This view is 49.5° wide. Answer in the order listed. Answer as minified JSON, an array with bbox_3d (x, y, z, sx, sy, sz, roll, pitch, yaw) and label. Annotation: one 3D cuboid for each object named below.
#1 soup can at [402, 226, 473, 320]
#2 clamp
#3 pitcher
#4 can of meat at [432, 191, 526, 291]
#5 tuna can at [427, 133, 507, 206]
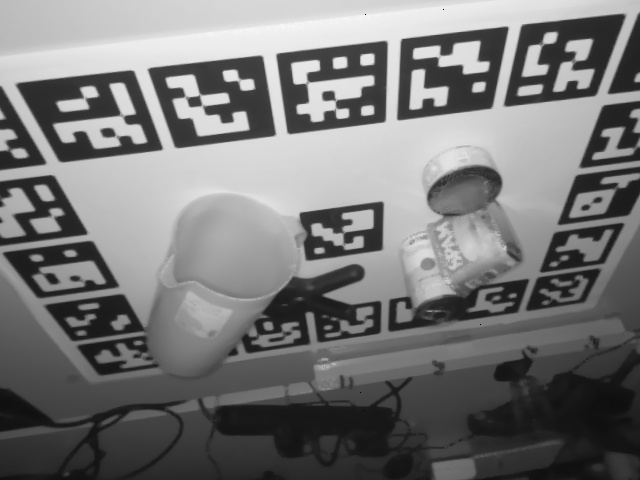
[{"bbox_3d":[0.148,0.041,0.883,0.068,0.102,0.067,-7,139,-6],"label":"soup can"},{"bbox_3d":[-0.011,0.064,0.943,0.165,0.037,0.121,-3,144,-3],"label":"clamp"},{"bbox_3d":[-0.120,0.054,0.812,0.192,0.133,0.238,-12,154,-33],"label":"pitcher"},{"bbox_3d":[0.192,-0.004,0.831,0.083,0.102,0.058,-33,134,21],"label":"can of meat"},{"bbox_3d":[0.166,-0.081,0.792,0.086,0.034,0.085,-6,139,-4],"label":"tuna can"}]
